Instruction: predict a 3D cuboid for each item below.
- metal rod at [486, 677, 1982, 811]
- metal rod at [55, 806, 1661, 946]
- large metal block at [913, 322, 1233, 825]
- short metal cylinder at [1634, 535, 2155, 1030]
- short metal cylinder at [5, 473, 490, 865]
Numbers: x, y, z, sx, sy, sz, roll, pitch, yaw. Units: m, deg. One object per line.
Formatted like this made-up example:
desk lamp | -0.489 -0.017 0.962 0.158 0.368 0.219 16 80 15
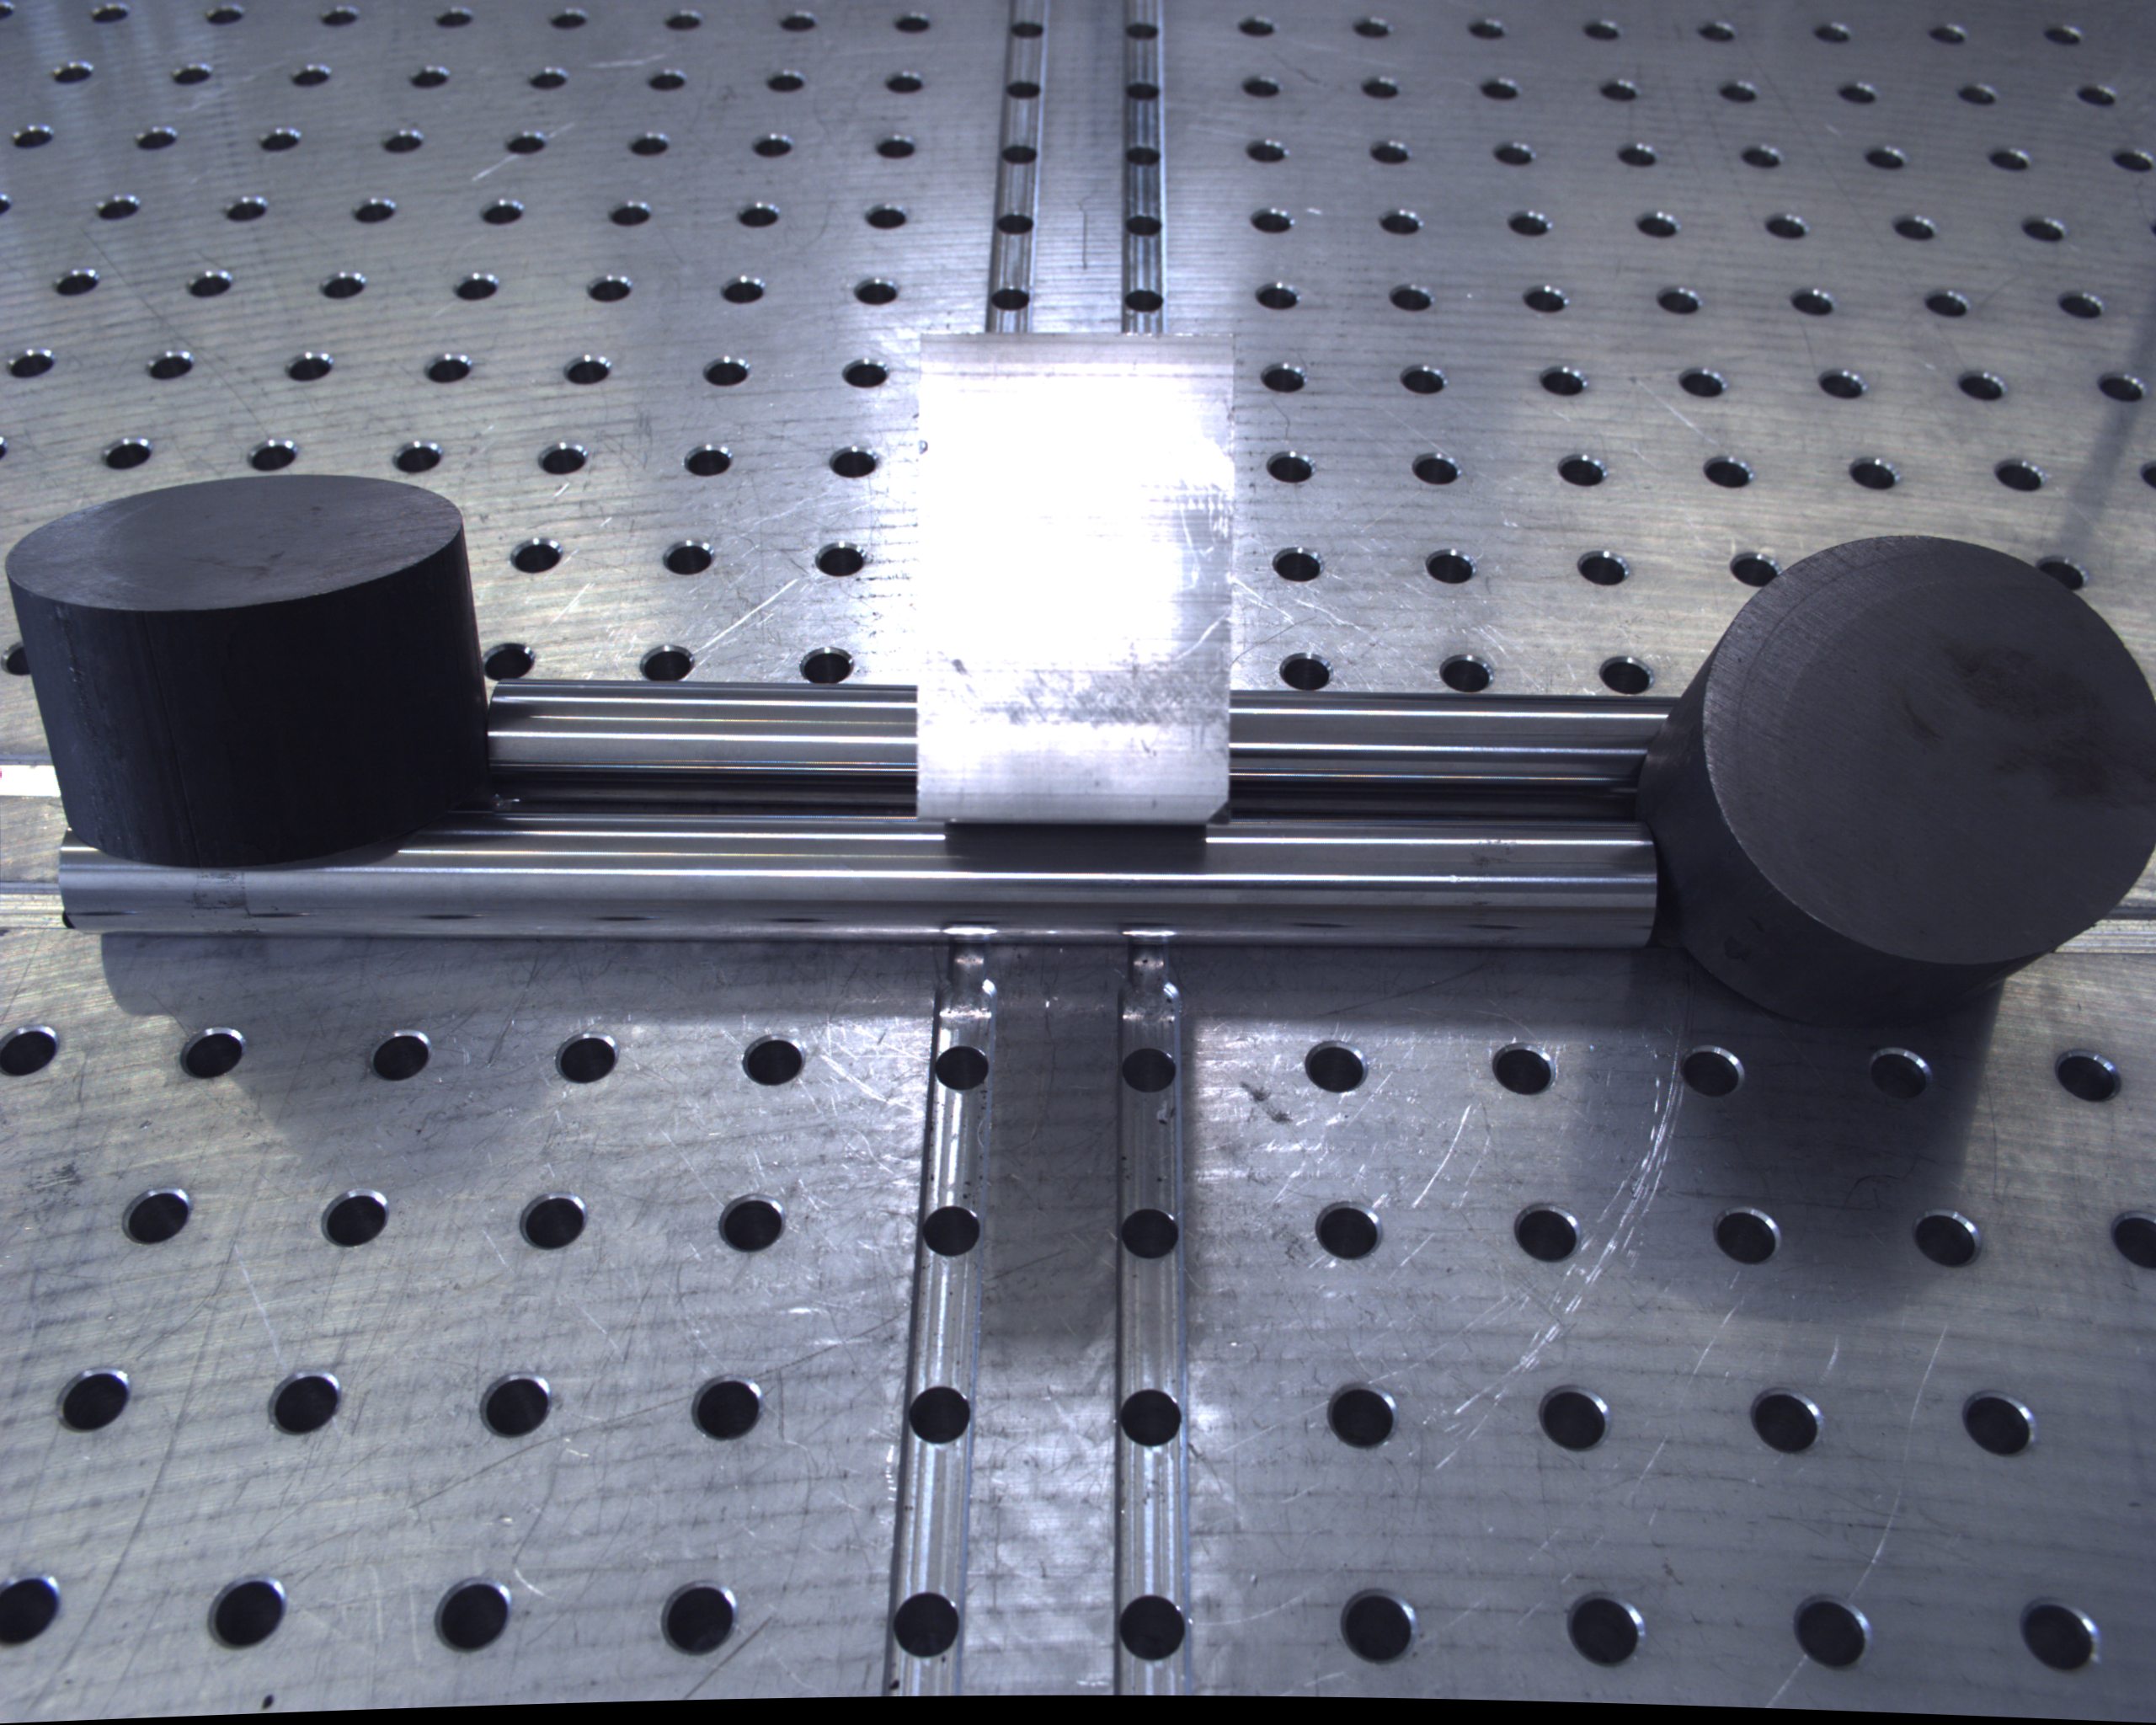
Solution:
metal rod | 0.033 -0.024 0.427 0.302 0.025 0.025 1 50 0
metal rod | -0.041 0.002 0.404 0.302 0.025 0.025 1 50 0
large metal block | 0.000 -0.048 0.373 0.050 0.080 0.079 1 92 0
short metal cylinder | 0.149 -0.013 0.386 0.081 0.050 0.080 0 72 0
short metal cylinder | -0.158 -0.040 0.405 0.081 0.050 0.080 0 27 0
